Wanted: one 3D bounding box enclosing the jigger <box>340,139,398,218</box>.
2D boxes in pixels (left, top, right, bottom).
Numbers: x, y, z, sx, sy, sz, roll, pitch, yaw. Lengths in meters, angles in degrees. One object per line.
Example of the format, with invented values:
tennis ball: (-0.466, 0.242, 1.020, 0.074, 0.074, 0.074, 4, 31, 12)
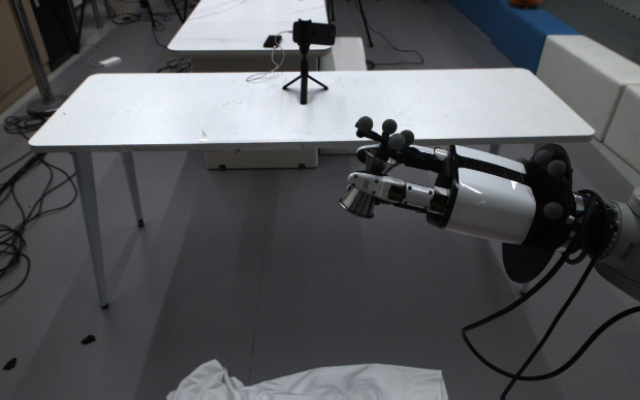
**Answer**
jigger: (0.054, -0.020, 0.544, 0.043, 0.071, 0.043, 23, 19, -8)
